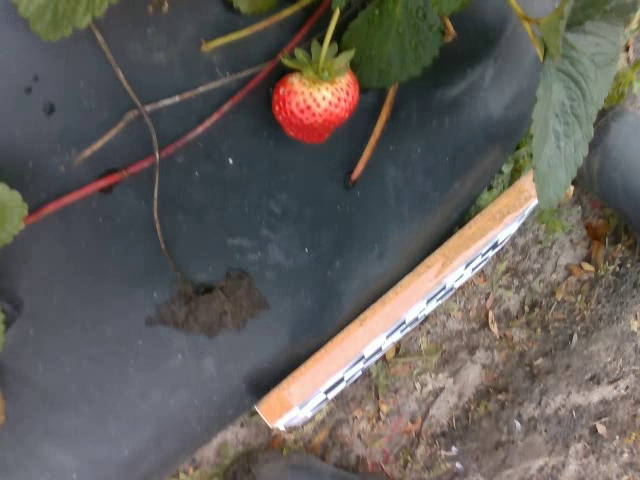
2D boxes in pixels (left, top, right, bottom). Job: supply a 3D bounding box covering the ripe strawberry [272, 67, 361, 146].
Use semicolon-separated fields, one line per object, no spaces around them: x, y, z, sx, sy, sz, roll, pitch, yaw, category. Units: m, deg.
-0.001;-0.080;0.368;0.061;0.049;0.065;-39;-21;-19;ripe strawberry
